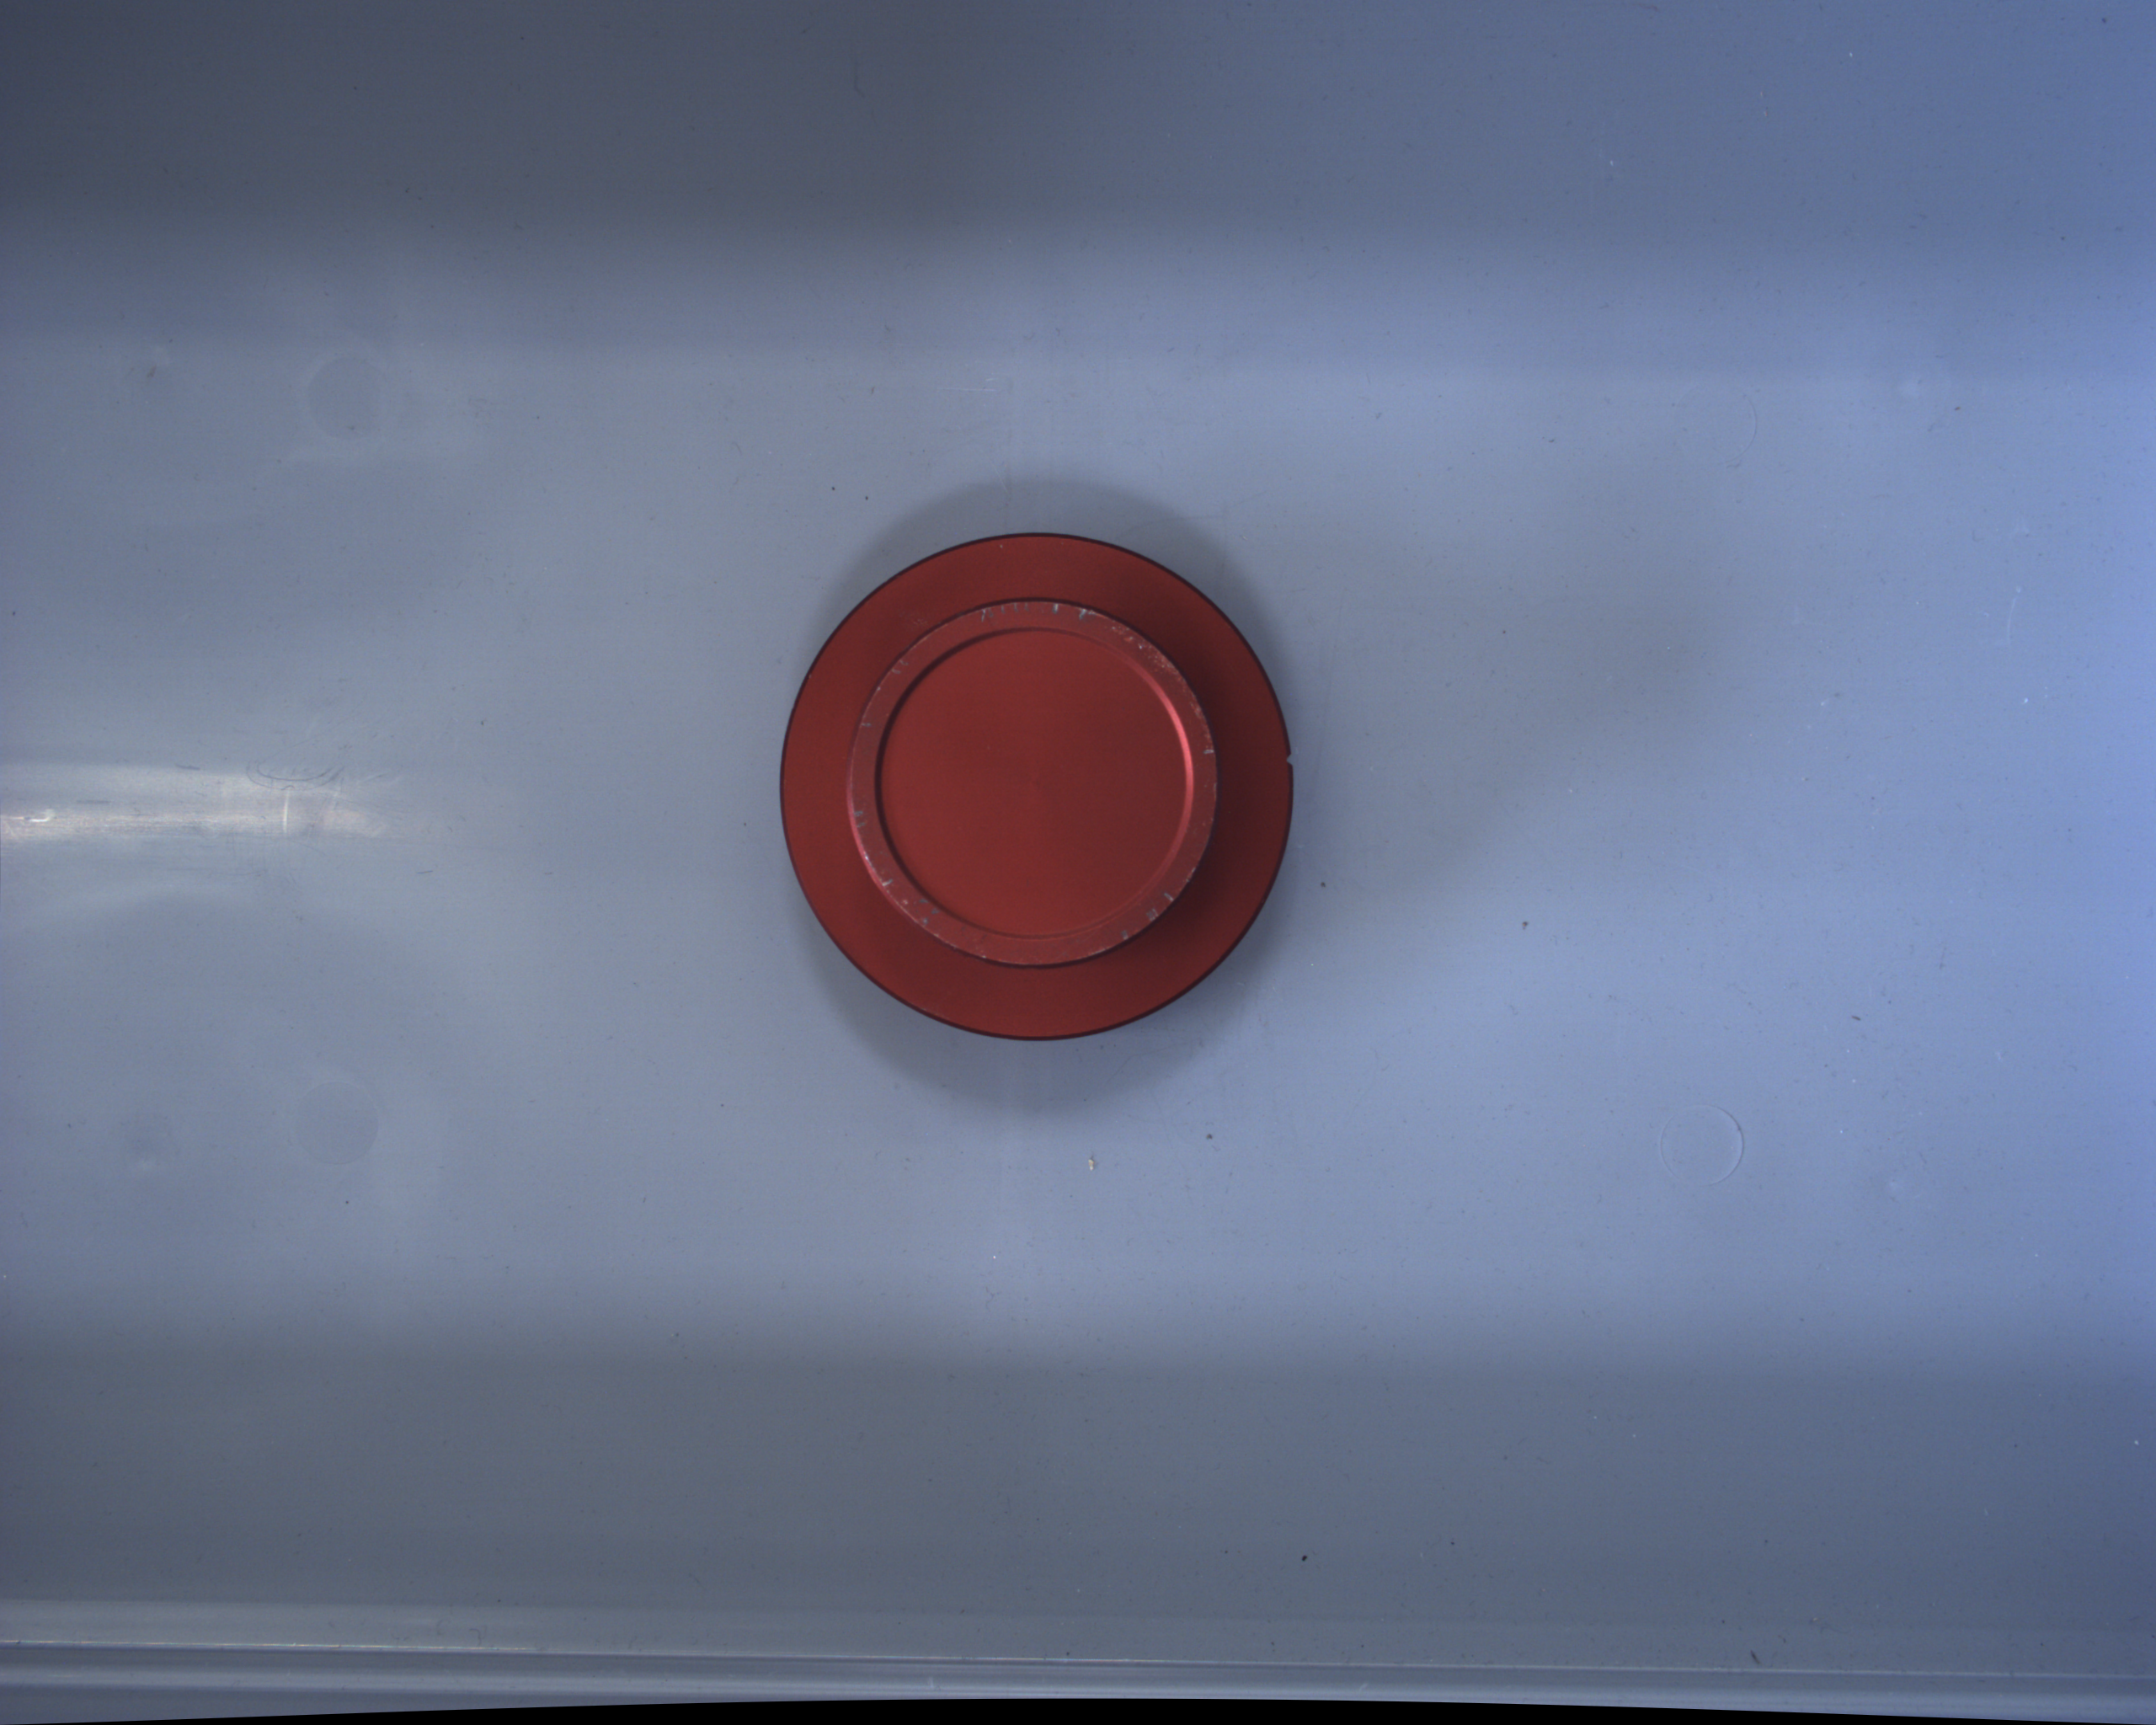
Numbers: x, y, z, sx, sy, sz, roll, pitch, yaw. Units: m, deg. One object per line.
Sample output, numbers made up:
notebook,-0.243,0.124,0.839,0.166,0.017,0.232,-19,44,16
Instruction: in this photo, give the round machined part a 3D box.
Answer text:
round machined part,-0.008,-0.014,0.400,0.099,0.042,0.097,0,90,0
